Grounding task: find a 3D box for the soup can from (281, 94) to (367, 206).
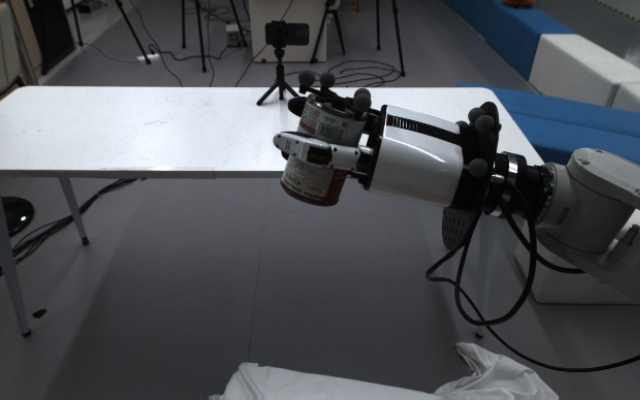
[{"bbox_3d":[0.005,-0.054,0.518,0.067,0.101,0.067,16,21,-7],"label":"soup can"}]
